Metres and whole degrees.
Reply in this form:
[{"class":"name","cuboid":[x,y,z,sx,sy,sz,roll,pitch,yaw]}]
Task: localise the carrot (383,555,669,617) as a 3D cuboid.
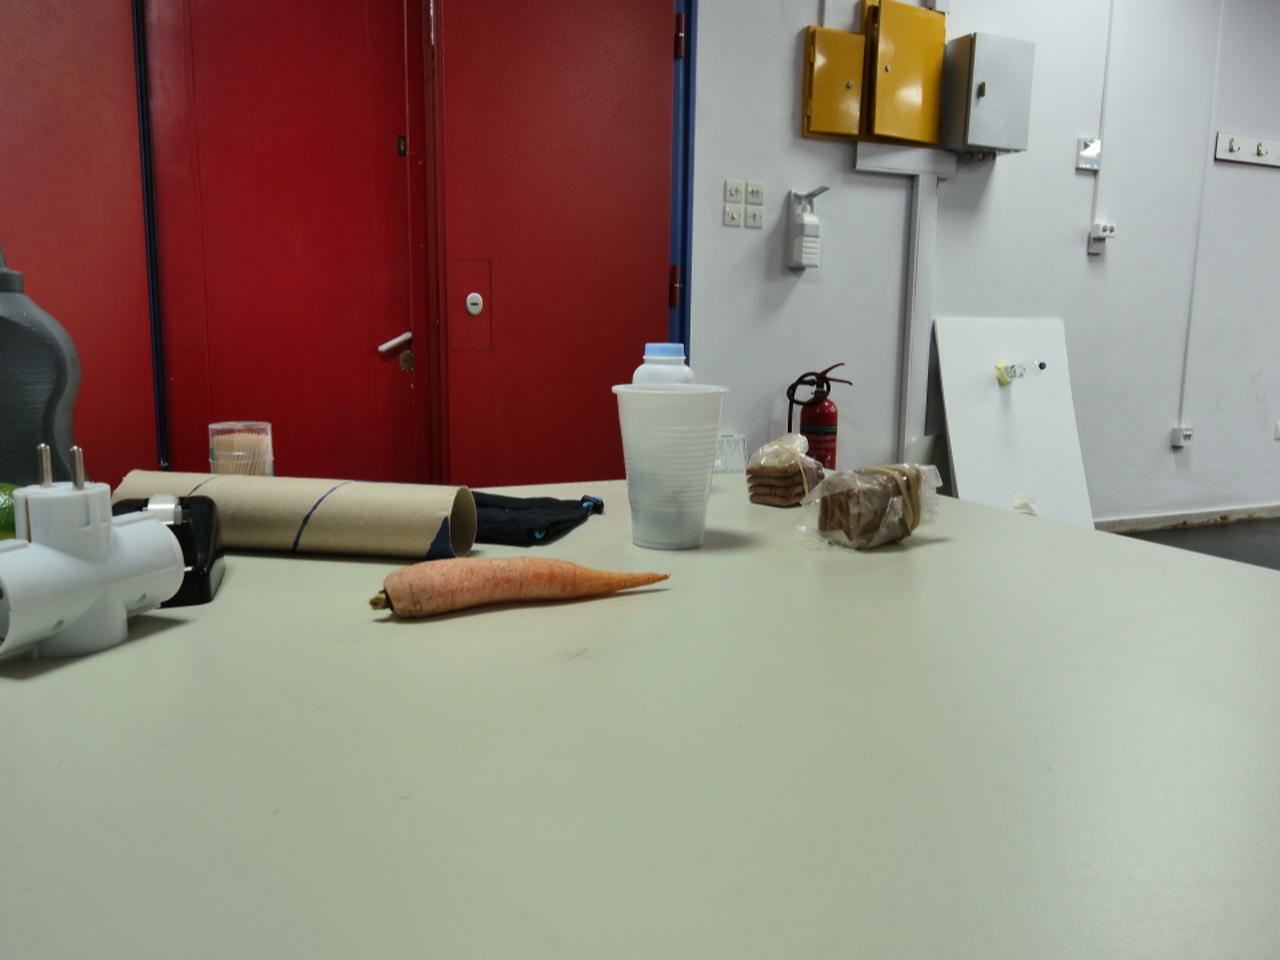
[{"class":"carrot","cuboid":[-0.059,0.053,0.537,0.163,0.029,0.031,-3,8,-24]}]
